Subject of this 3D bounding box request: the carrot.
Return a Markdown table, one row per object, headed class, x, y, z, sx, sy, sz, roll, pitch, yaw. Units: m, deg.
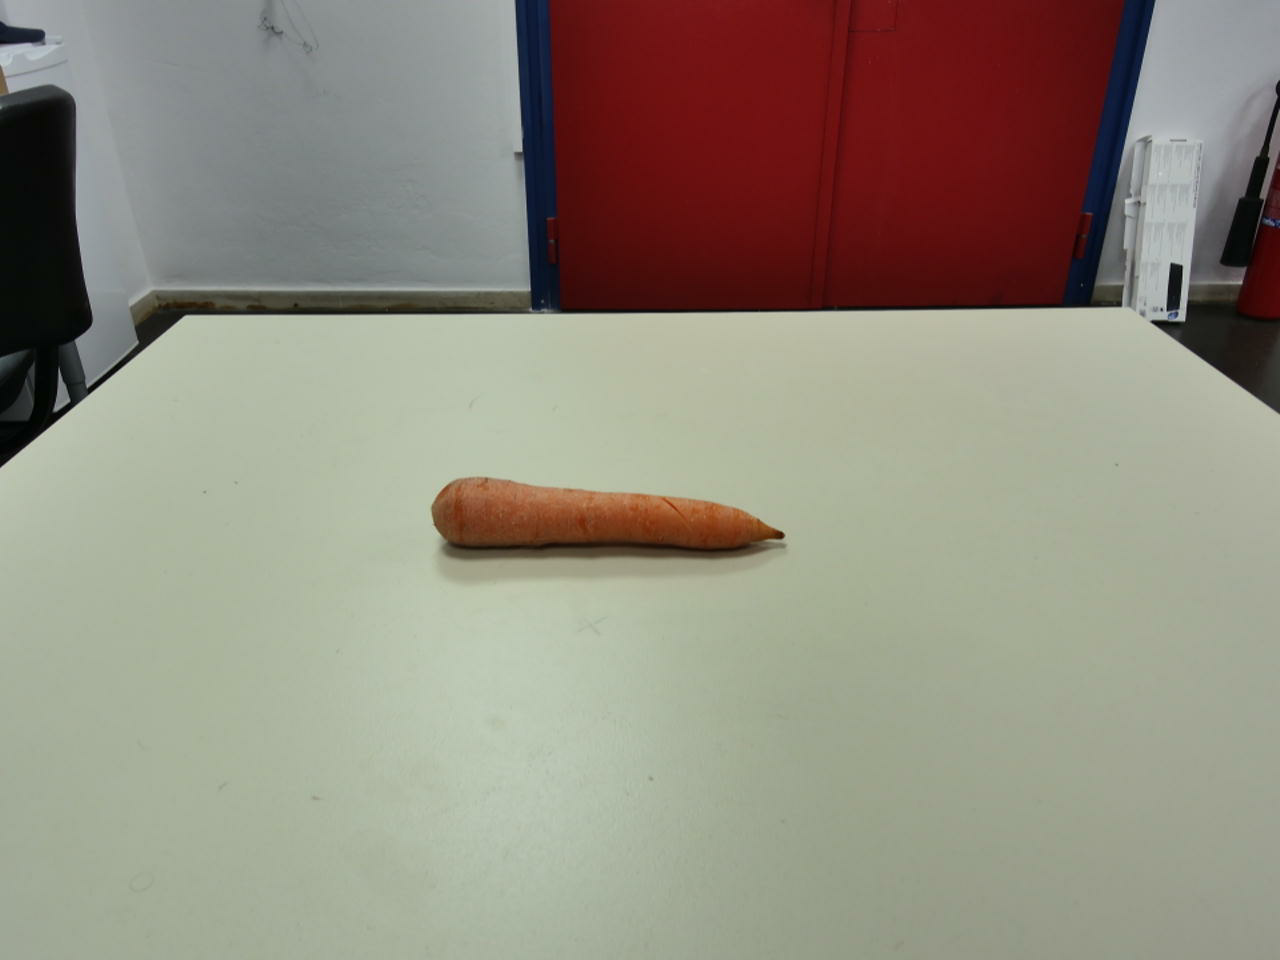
| class | x | y | z | sx | sy | sz | roll | pitch | yaw |
| --- | --- | --- | --- | --- | --- | --- | --- | --- | --- |
| carrot | -0.017 | 0.018 | 0.554 | 0.196 | 0.041 | 0.039 | 0 | 26 | 0 |
